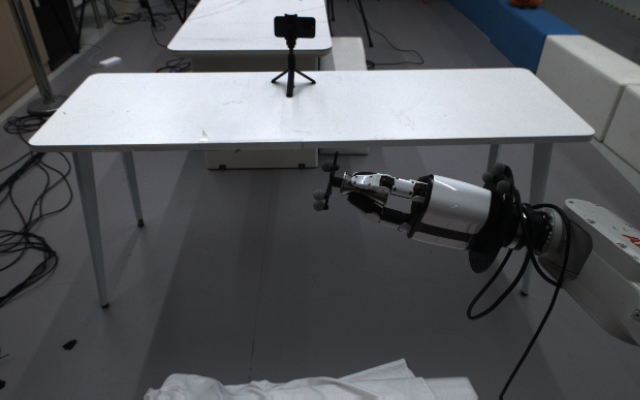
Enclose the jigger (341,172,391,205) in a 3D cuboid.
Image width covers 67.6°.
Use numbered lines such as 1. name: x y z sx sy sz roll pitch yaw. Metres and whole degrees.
1. jigger: 0.072 -0.020 0.709 0.071 0.043 0.043 13 36 3
